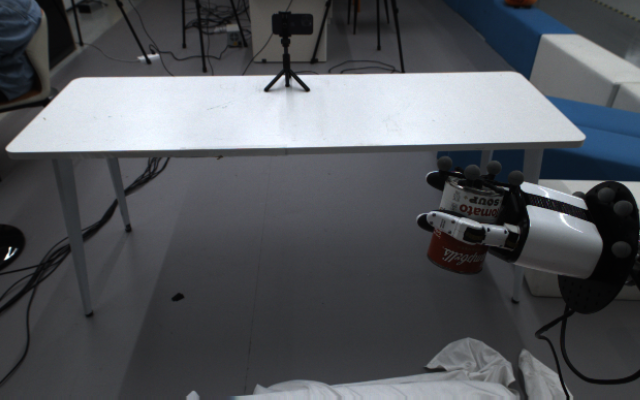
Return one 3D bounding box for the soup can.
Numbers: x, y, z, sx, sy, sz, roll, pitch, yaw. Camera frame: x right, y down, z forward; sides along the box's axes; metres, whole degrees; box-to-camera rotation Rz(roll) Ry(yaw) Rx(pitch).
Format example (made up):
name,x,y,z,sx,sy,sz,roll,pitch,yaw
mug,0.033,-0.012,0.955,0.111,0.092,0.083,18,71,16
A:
name,x,y,z,sx,sy,sz,roll,pitch,yaw
soup can,0.174,0.027,0.575,0.067,0.101,0.067,9,19,-3
